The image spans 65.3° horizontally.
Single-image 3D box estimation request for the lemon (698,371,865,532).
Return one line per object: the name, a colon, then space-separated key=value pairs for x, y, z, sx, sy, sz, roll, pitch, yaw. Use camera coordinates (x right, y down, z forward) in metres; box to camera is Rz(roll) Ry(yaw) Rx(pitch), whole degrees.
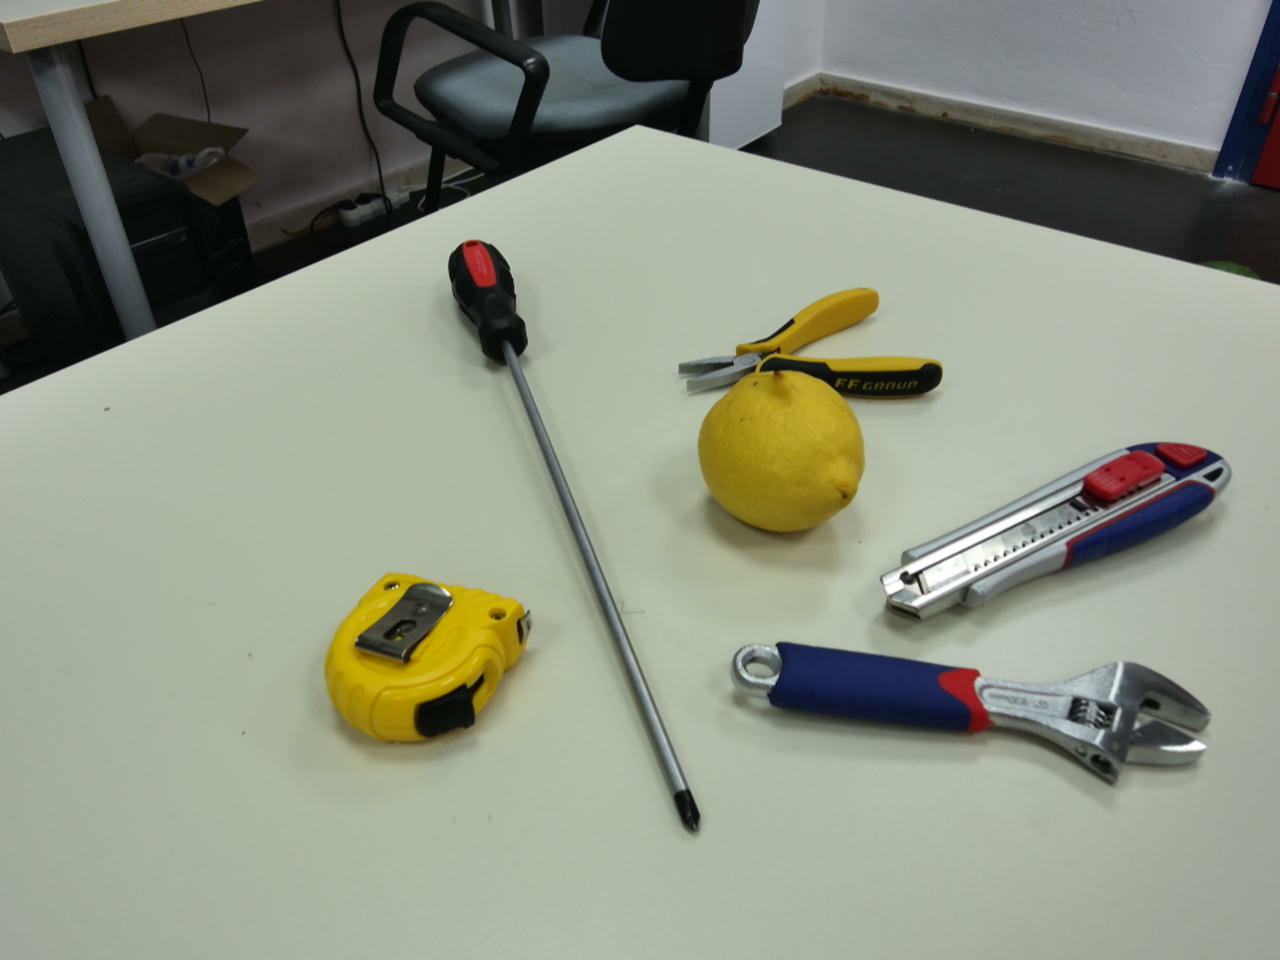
lemon: x=0.060 y=-0.015 z=0.426 sx=0.070 sy=0.071 sz=0.071 roll=4 pitch=36 yaw=5
